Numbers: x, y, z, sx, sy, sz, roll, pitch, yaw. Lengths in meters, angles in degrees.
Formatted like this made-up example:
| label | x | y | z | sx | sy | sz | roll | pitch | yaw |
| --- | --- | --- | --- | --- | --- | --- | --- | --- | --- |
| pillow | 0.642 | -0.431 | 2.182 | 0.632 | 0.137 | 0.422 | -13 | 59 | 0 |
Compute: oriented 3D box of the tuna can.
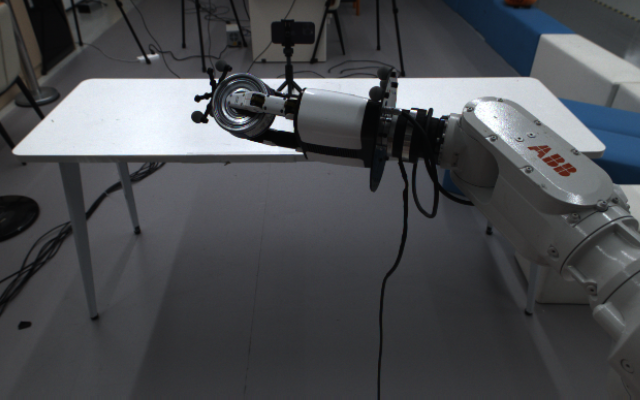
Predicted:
| label | x | y | z | sx | sy | sz | roll | pitch | yaw |
| --- | --- | --- | --- | --- | --- | --- | --- | --- | --- |
| tuna can | -0.104 | -0.132 | 0.666 | 0.085 | 0.085 | 0.034 | 12 | -3 | 14 |
